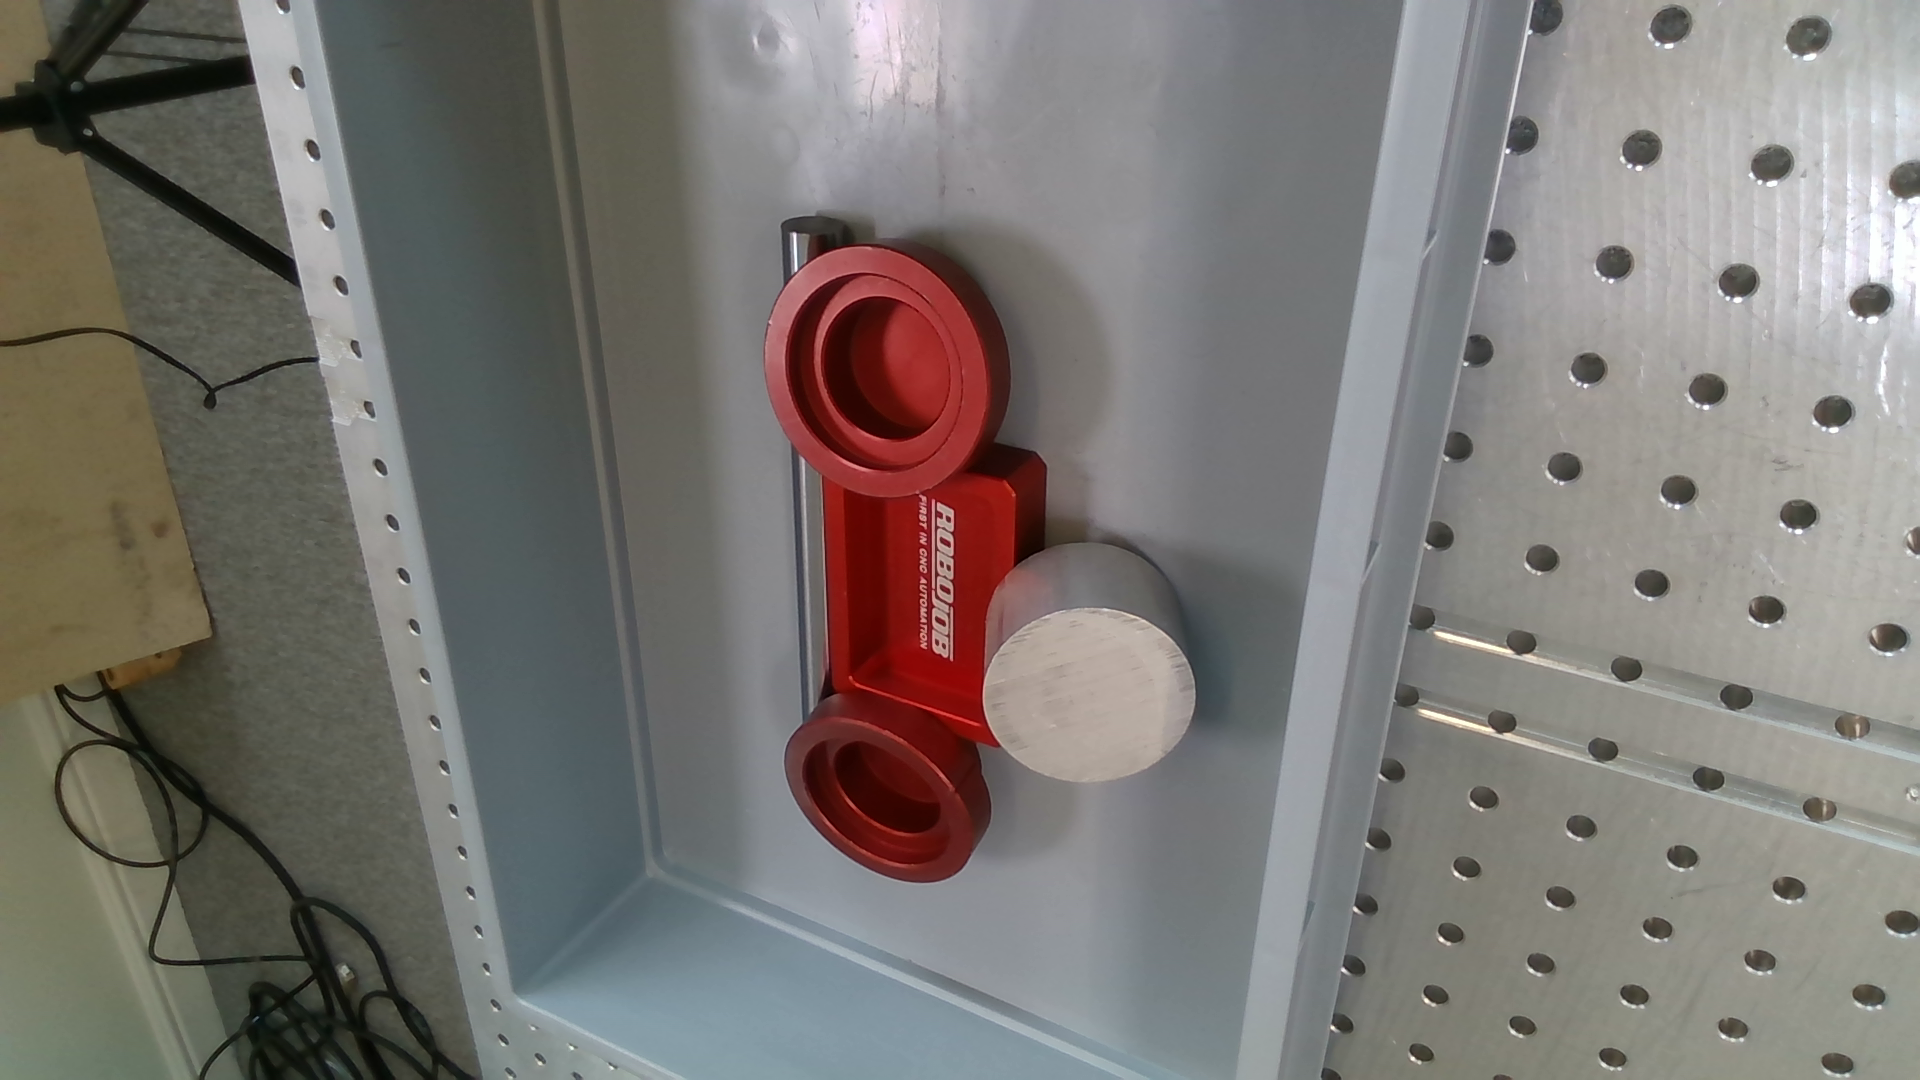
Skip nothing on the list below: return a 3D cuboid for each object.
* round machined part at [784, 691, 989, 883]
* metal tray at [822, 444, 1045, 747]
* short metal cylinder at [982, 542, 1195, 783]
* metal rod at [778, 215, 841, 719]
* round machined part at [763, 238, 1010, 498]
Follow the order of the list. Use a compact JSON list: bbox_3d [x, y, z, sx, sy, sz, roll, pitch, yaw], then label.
[{"bbox_3d":[-0.029,0.109,0.639,0.098,0.042,0.098,17,130,21],"label":"round machined part"},{"bbox_3d":[-0.012,0.018,0.592,0.090,0.030,0.130,15,123,25],"label":"metal tray"},{"bbox_3d":[0.049,0.048,0.540,0.080,0.050,0.080,1,119,2],"label":"short metal cylinder"},{"bbox_3d":[-0.063,0.005,0.620,0.025,0.025,0.301,16,123,24],"label":"metal rod"},{"bbox_3d":[-0.025,-0.069,0.539,0.098,0.042,0.098,9,112,24],"label":"round machined part"}]
